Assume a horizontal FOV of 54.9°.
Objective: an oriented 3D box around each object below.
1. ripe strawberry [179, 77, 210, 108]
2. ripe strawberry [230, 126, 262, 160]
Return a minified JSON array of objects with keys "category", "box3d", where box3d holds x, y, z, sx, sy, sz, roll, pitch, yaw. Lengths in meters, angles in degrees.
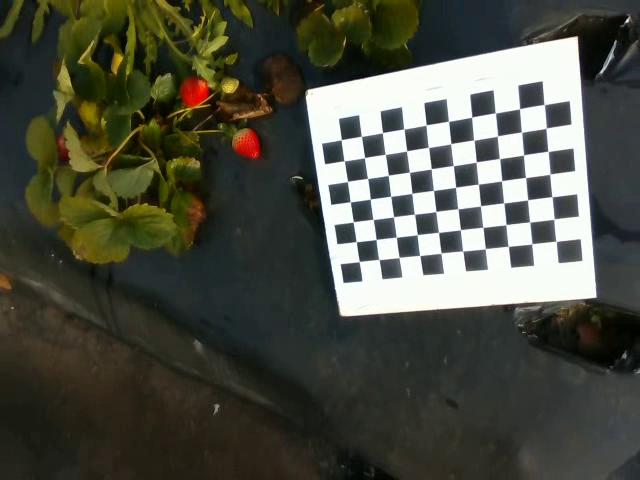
[{"category":"ripe strawberry","box3d":[-0.149,-0.178,0.710,0.031,0.040,0.048,-25,5,-28]},{"category":"ripe strawberry","box3d":[-0.086,-0.112,0.709,0.035,0.043,0.029,-46,-7,19]}]
